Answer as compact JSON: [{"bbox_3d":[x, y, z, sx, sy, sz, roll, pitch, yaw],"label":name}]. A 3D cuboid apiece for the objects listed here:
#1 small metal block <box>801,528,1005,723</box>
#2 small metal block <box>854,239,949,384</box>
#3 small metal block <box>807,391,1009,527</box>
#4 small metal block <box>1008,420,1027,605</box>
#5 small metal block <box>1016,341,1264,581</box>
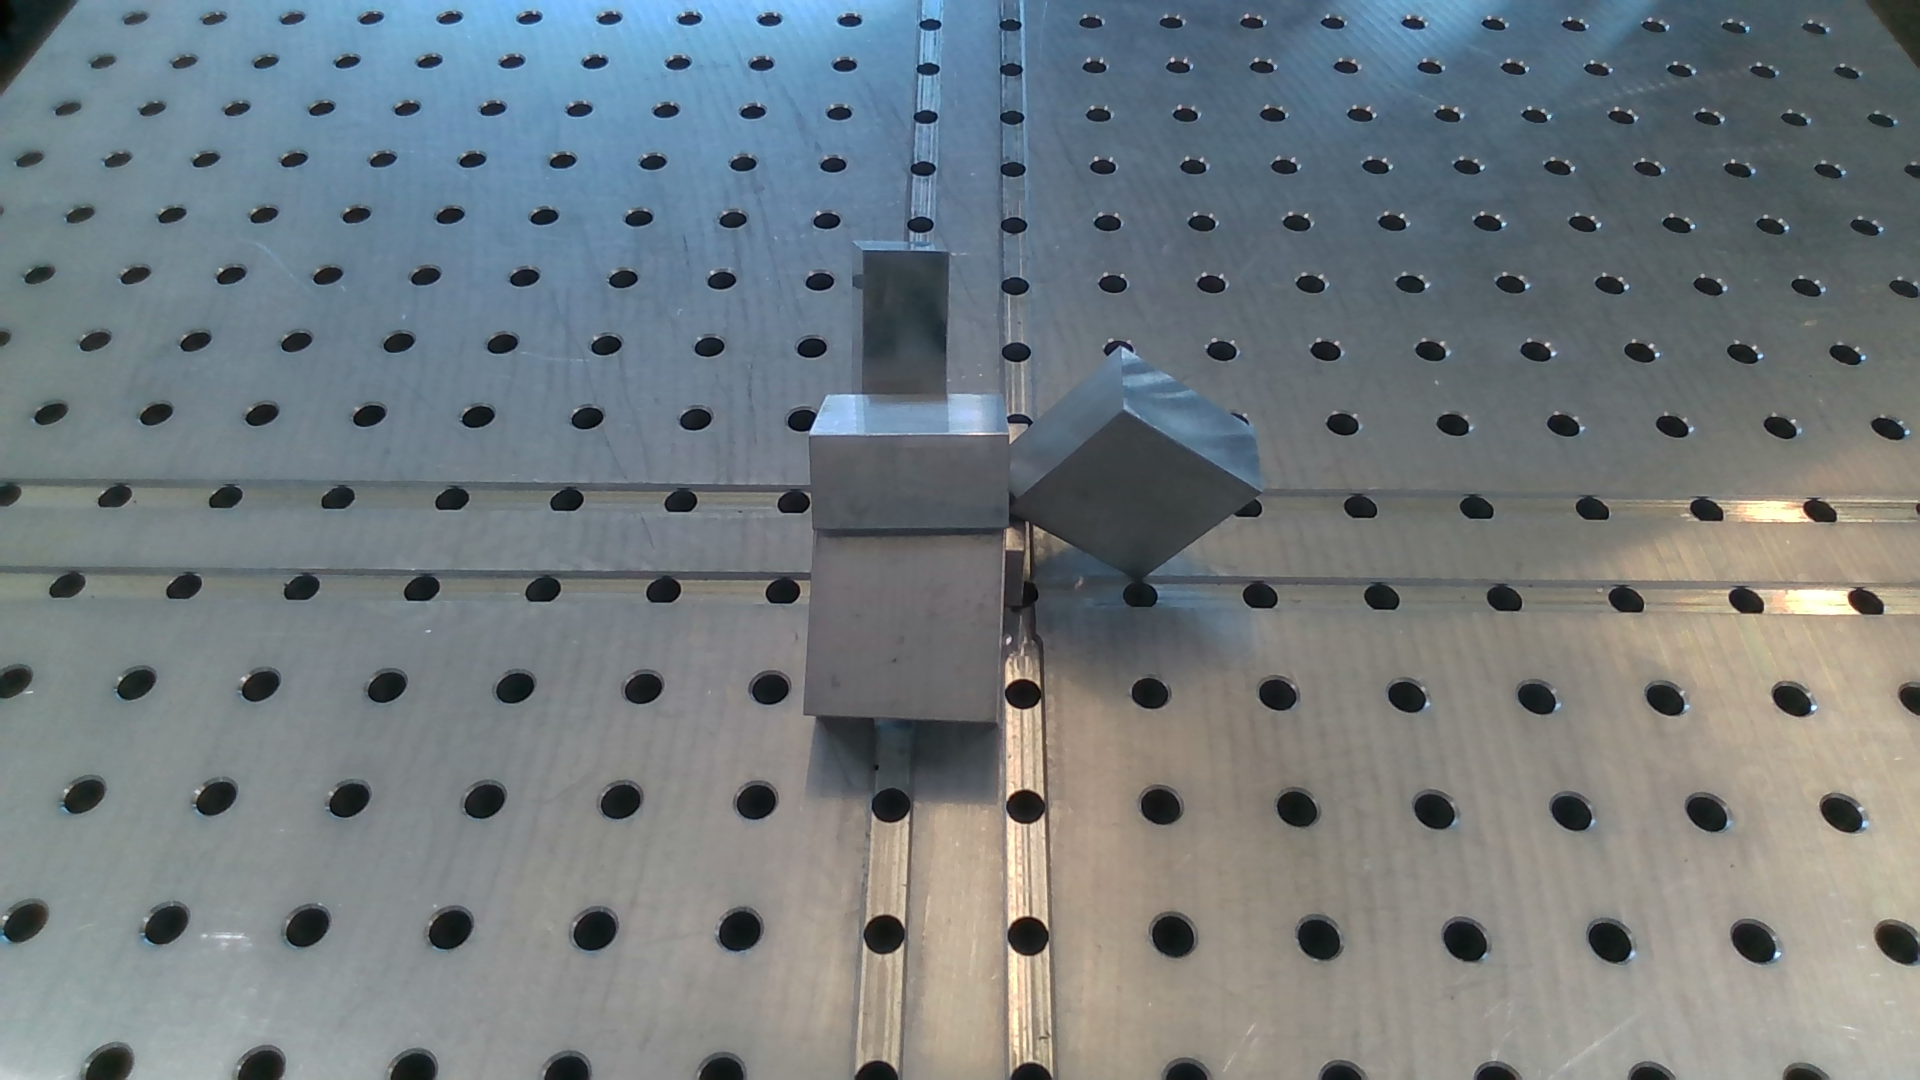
[{"bbox_3d":[-0.014,0.022,0.364,0.050,0.025,0.050,2,81,1],"label":"small metal block"},{"bbox_3d":[-0.020,-0.066,0.422,0.025,0.050,0.050,0,15,-8],"label":"small metal block"},{"bbox_3d":[-0.013,-0.023,0.368,0.050,0.025,0.050,0,17,0],"label":"small metal block"},{"bbox_3d":[-0.006,-0.009,0.405,0.050,0.025,0.050,2,50,1],"label":"small metal block"},{"bbox_3d":[0.048,-0.020,0.384,0.050,0.050,0.025,27,44,-25],"label":"small metal block"}]
